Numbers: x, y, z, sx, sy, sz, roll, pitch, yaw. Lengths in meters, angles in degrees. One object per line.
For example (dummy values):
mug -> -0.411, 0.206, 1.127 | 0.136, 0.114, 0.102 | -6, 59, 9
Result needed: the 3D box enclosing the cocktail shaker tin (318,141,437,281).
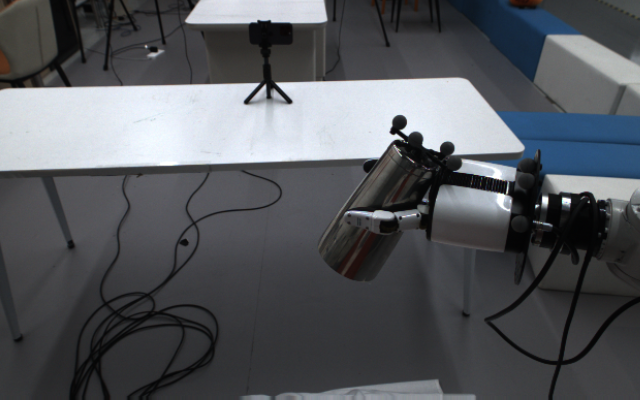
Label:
cocktail shaker tin -> 0.078, 0.008, 0.616 | 0.093, 0.170, 0.093 | 25, 29, -15
